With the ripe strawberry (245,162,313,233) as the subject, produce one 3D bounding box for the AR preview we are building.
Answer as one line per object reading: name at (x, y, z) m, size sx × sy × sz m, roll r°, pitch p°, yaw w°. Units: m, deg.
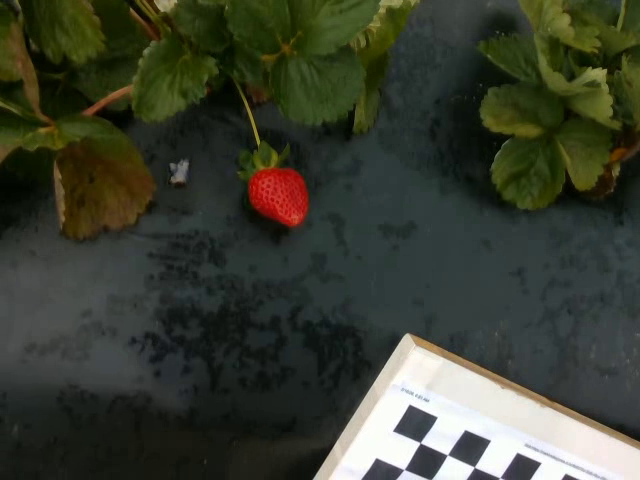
ripe strawberry at (-0.026, -0.028, 0.406) m, size 0.045 × 0.053 × 0.048 m, roll -22°, pitch -30°, yaw 3°
